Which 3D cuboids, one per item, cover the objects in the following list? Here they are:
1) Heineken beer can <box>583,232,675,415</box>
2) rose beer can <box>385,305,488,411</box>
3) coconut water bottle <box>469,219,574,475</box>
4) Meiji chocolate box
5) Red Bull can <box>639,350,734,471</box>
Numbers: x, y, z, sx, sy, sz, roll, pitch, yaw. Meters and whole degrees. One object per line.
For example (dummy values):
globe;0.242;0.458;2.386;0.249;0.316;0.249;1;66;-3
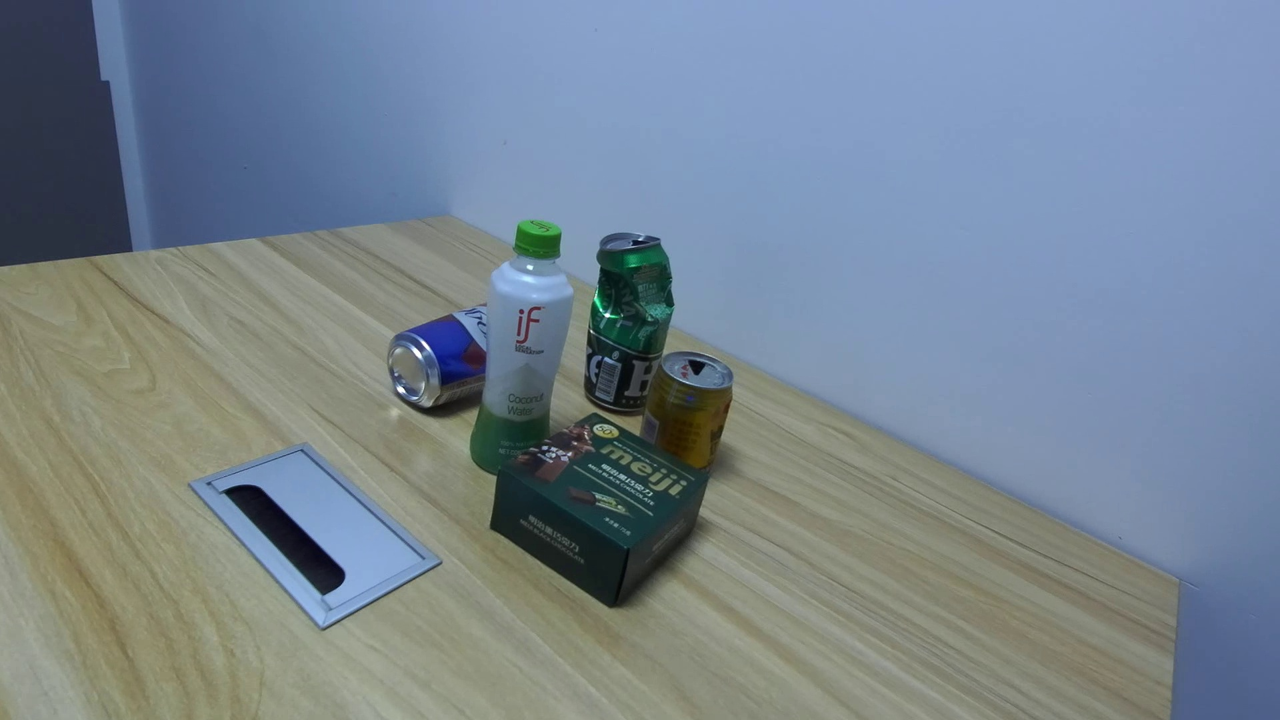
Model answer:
Heineken beer can;-0.008;-0.032;0.643;0.078;0.159;0.067;9;20;9
rose beer can;-0.149;-0.010;0.650;0.069;0.069;0.168;0;15;34
coconut water bottle;-0.086;-0.007;0.522;0.063;0.188;0.063;10;26;-5
Meiji chocolate box;-0.026;0.099;0.495;0.109;0.056;0.109;26;30;25
Red Bull can;0.037;0.047;0.575;0.069;0.092;0.069;10;24;-4
